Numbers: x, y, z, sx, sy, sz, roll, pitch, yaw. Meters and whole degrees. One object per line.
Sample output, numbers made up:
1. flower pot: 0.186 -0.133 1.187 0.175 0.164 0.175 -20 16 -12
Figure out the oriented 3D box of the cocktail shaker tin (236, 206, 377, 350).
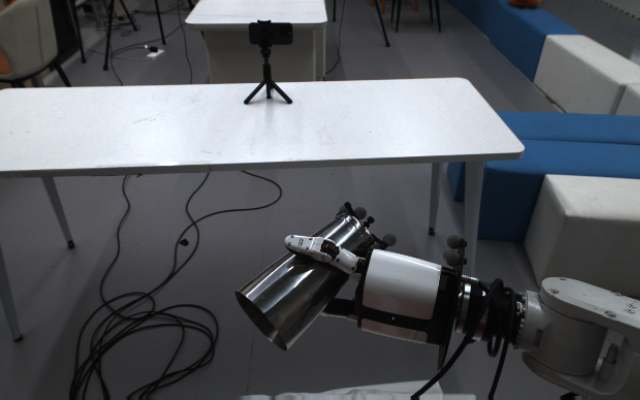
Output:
1. cocktail shaker tin: -0.011 0.088 0.604 0.170 0.093 0.093 -38 49 -23
